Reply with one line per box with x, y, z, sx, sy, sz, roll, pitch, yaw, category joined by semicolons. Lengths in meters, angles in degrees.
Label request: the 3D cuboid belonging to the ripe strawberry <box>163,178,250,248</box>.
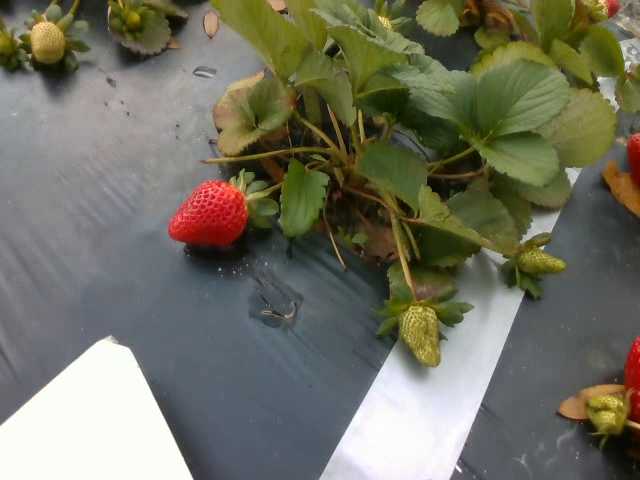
-0.054;-0.012;0.311;0.046;0.040;0.036;-17;34;-34;ripe strawberry
